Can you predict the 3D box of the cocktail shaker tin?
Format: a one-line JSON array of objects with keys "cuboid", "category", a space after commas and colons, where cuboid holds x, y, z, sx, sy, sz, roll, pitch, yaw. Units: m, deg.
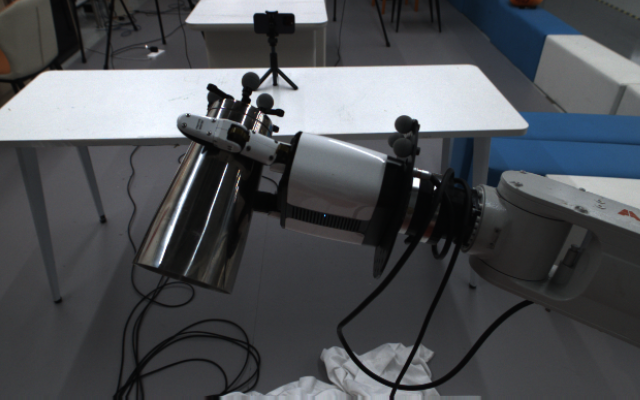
[{"cuboid": [-0.099, -0.008, 0.463, 0.093, 0.093, 0.170, 12, 72, 14], "category": "cocktail shaker tin"}]
